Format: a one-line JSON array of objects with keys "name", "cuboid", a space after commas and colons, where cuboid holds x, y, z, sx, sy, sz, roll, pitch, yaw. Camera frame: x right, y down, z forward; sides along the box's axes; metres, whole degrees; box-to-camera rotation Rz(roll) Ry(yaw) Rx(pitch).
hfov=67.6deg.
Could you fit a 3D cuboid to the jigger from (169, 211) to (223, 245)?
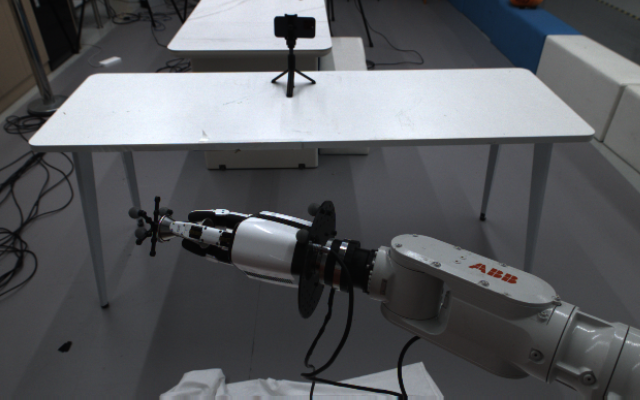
[{"name": "jigger", "cuboid": [-0.186, 0.040, 0.701, 0.071, 0.043, 0.043, 5, 34, 15]}]
